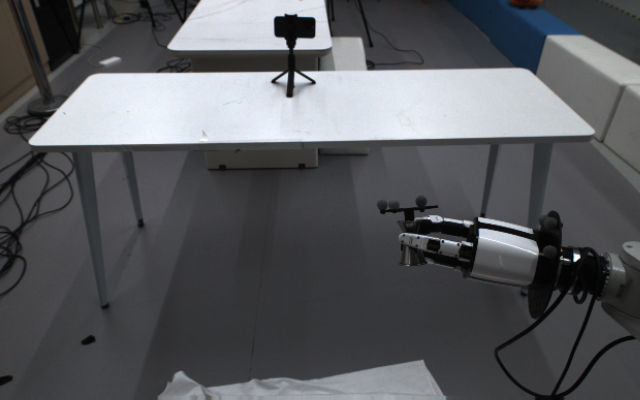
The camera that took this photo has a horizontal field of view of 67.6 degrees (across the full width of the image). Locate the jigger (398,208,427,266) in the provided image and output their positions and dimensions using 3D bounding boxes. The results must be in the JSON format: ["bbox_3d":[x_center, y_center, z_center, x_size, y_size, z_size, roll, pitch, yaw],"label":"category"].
[{"bbox_3d":[0.140,0.063,0.746,0.043,0.071,0.043,-4,1,0],"label":"jigger"}]
